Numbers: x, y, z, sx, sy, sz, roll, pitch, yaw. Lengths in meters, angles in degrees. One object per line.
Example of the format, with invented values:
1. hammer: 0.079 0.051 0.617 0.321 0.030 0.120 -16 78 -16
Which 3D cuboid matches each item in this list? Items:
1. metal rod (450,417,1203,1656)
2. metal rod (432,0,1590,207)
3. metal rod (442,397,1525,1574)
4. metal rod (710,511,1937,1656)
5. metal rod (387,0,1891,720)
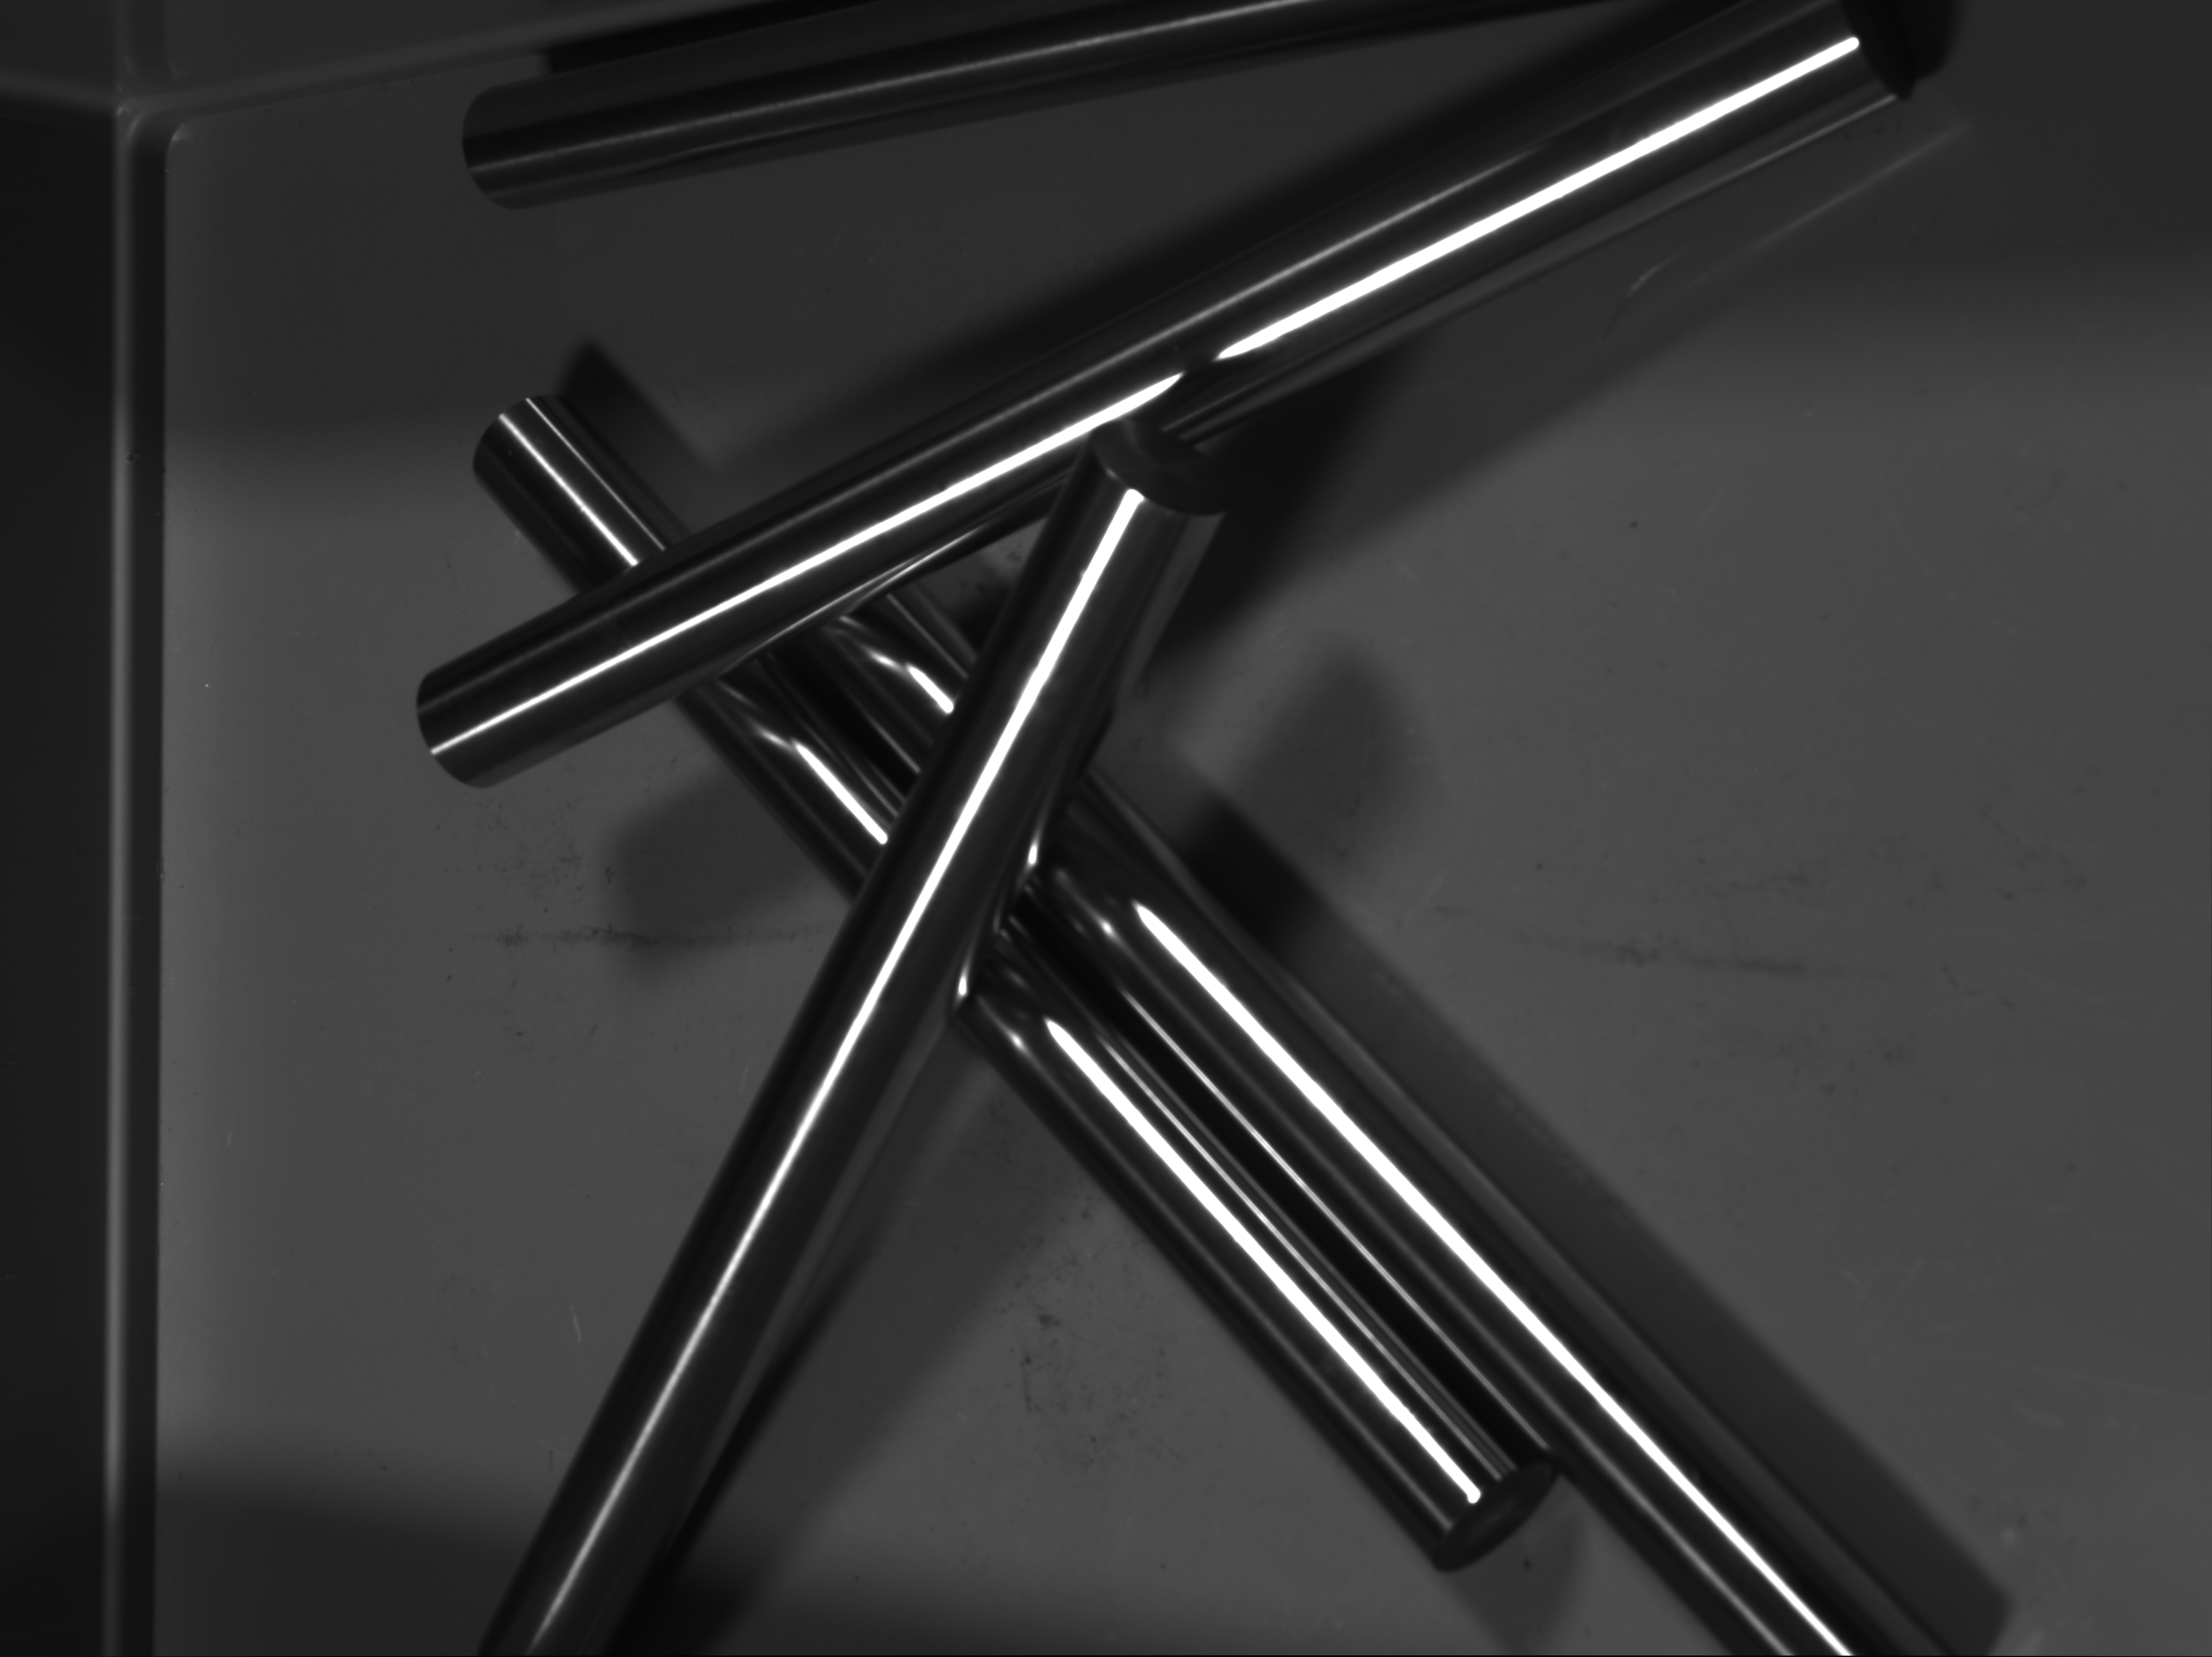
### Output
1. metal rod: -0.058 0.055 0.656 0.025 0.025 0.300 48 126 29
2. metal rod: -0.011 -0.141 0.645 0.299 0.025 0.025 -1 89 39
3. metal rod: -0.032 0.017 0.663 0.299 0.025 0.025 46 117 30
4. metal rod: 0.025 0.039 0.615 0.299 0.025 0.025 46 117 30
5. metal rod: -0.009 -0.078 0.623 0.299 0.025 0.025 -21 77 31
